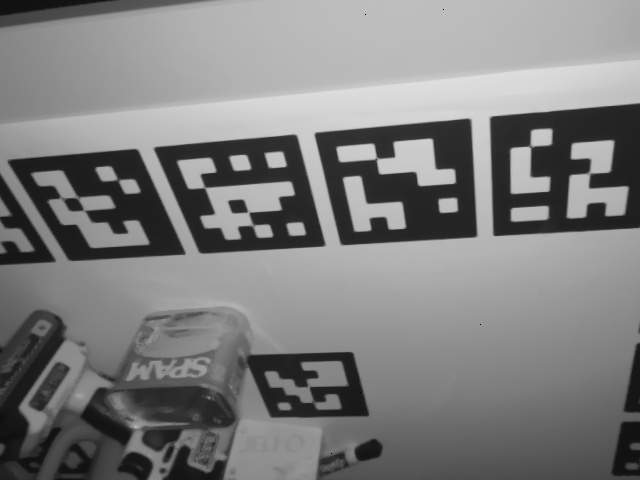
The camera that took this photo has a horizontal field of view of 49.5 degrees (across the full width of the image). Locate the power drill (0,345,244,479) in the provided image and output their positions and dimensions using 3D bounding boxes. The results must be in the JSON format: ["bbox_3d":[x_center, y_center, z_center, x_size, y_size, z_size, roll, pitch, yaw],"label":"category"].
[{"bbox_3d":[-0.168,0.182,0.595,0.187,0.187,0.056,27,125,-6],"label":"power drill"}]

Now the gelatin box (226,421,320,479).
[{"bbox_3d":[-0.049,0.217,0.680,0.089,0.074,0.030,5,125,5],"label":"gelatin box"}]

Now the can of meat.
[{"bbox_3d":[-0.108,0.098,0.580,0.101,0.084,0.057,-5,130,12],"label":"can of meat"}]

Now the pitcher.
[{"bbox_3d":[-0.198,0.280,0.647,0.190,0.244,0.131,18,126,-15],"label":"pitcher"}]

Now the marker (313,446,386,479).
[{"bbox_3d":[0.017,0.240,0.721,0.119,0.020,0.020,-28,119,25],"label":"marker"}]
